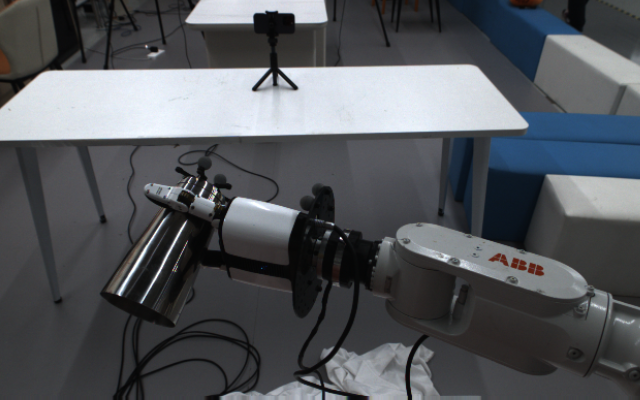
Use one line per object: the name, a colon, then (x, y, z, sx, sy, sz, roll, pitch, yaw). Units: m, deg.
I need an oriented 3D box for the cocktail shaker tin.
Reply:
cocktail shaker tin: (-0.182, 0.058, 0.593, 0.093, 0.093, 0.170, 13, 59, 15)
